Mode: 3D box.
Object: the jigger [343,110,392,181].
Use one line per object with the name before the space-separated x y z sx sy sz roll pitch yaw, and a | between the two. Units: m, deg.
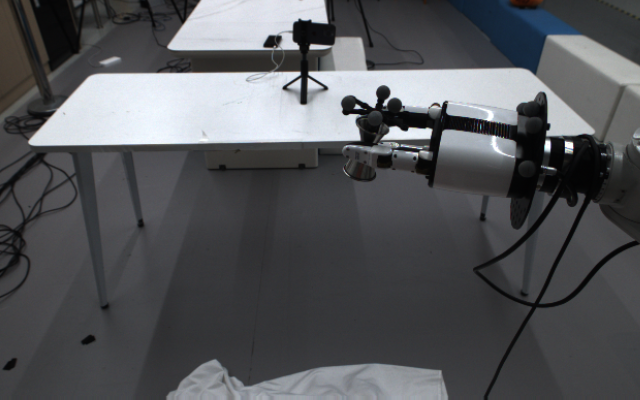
jigger | 0.057 -0.063 0.604 0.043 0.071 0.043 10 35 -7
